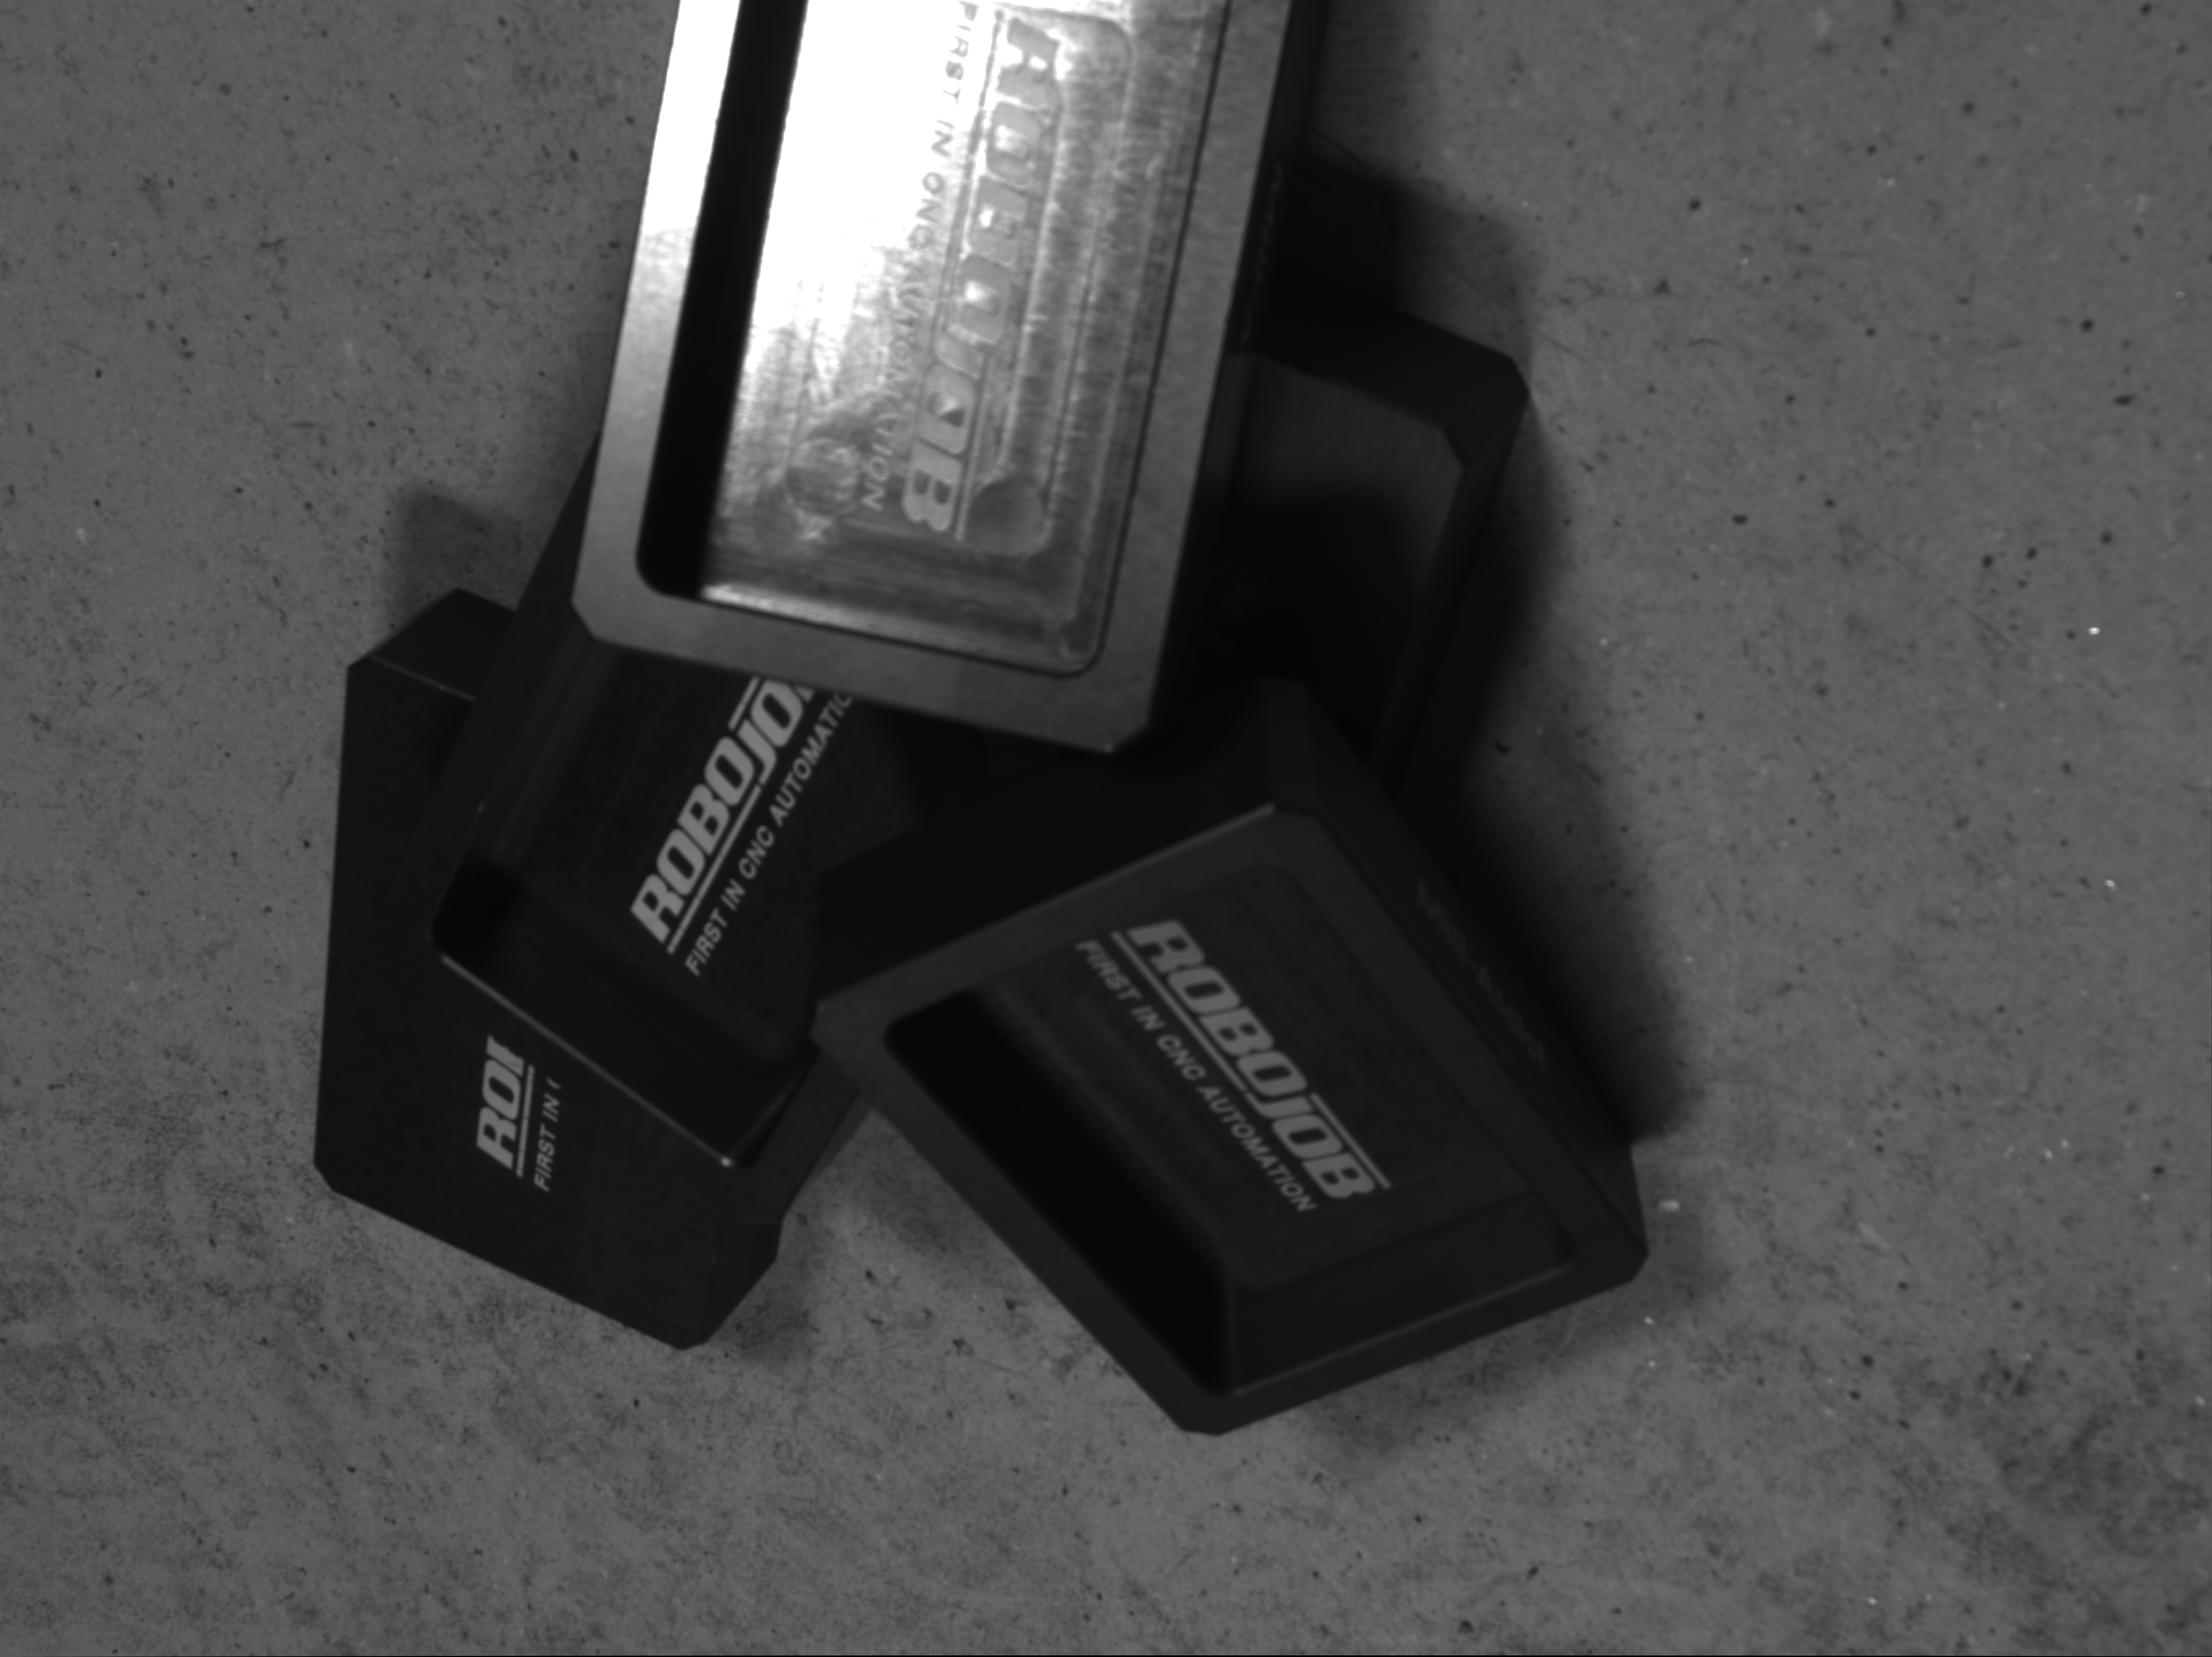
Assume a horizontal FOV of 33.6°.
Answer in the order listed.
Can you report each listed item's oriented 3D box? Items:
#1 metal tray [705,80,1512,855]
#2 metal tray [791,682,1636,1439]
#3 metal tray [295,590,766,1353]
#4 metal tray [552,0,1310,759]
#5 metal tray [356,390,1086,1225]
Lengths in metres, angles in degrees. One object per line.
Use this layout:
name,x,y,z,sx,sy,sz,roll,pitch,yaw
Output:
metal tray,-0.009,-0.056,0.599,0.130,0.030,0.090,24,126,12
metal tray,0.019,0.042,0.600,0.090,0.030,0.130,-24,131,18
metal tray,-0.105,0.029,0.697,0.090,0.030,0.130,22,126,13
metal tray,-0.025,-0.083,0.547,0.090,0.030,0.130,12,96,8
metal tray,-0.065,-0.003,0.621,0.090,0.030,0.130,35,128,3
